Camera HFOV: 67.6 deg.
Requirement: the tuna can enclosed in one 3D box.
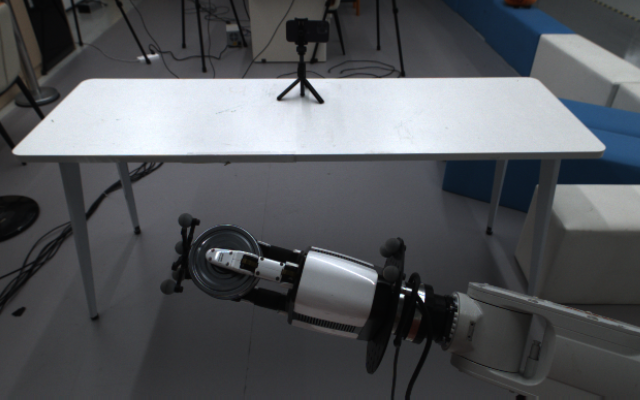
[{"bbox_3d":[-0.106,0.072,0.567,0.085,0.034,0.085,1,73,-5],"label":"tuna can"}]
